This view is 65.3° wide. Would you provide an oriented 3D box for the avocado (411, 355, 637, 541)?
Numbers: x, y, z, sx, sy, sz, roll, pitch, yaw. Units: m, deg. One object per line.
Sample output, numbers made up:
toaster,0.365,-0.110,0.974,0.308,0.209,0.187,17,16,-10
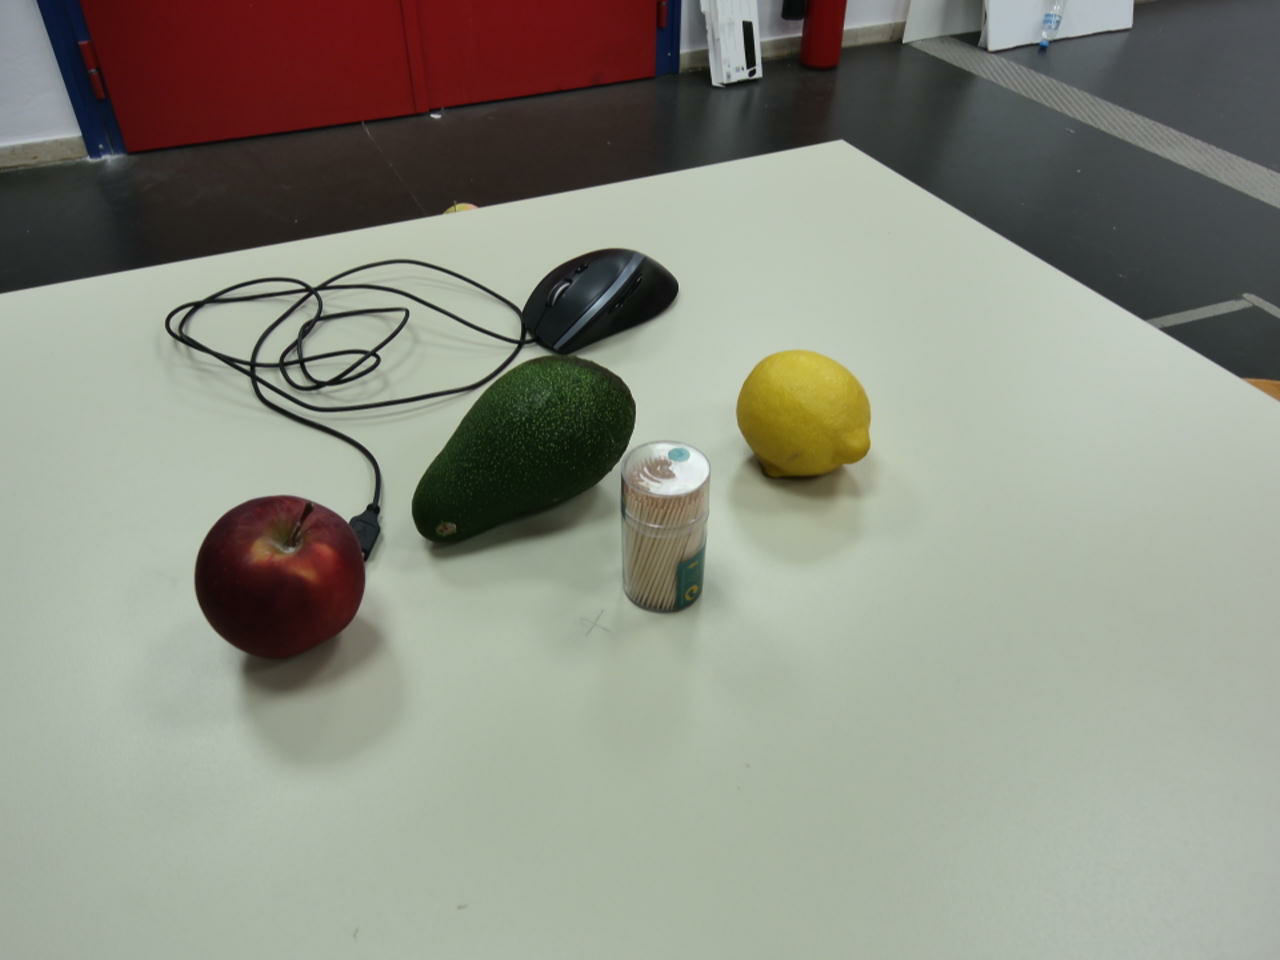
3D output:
avocado,-0.061,-0.022,0.508,0.123,0.076,0.074,-12,40,-16
